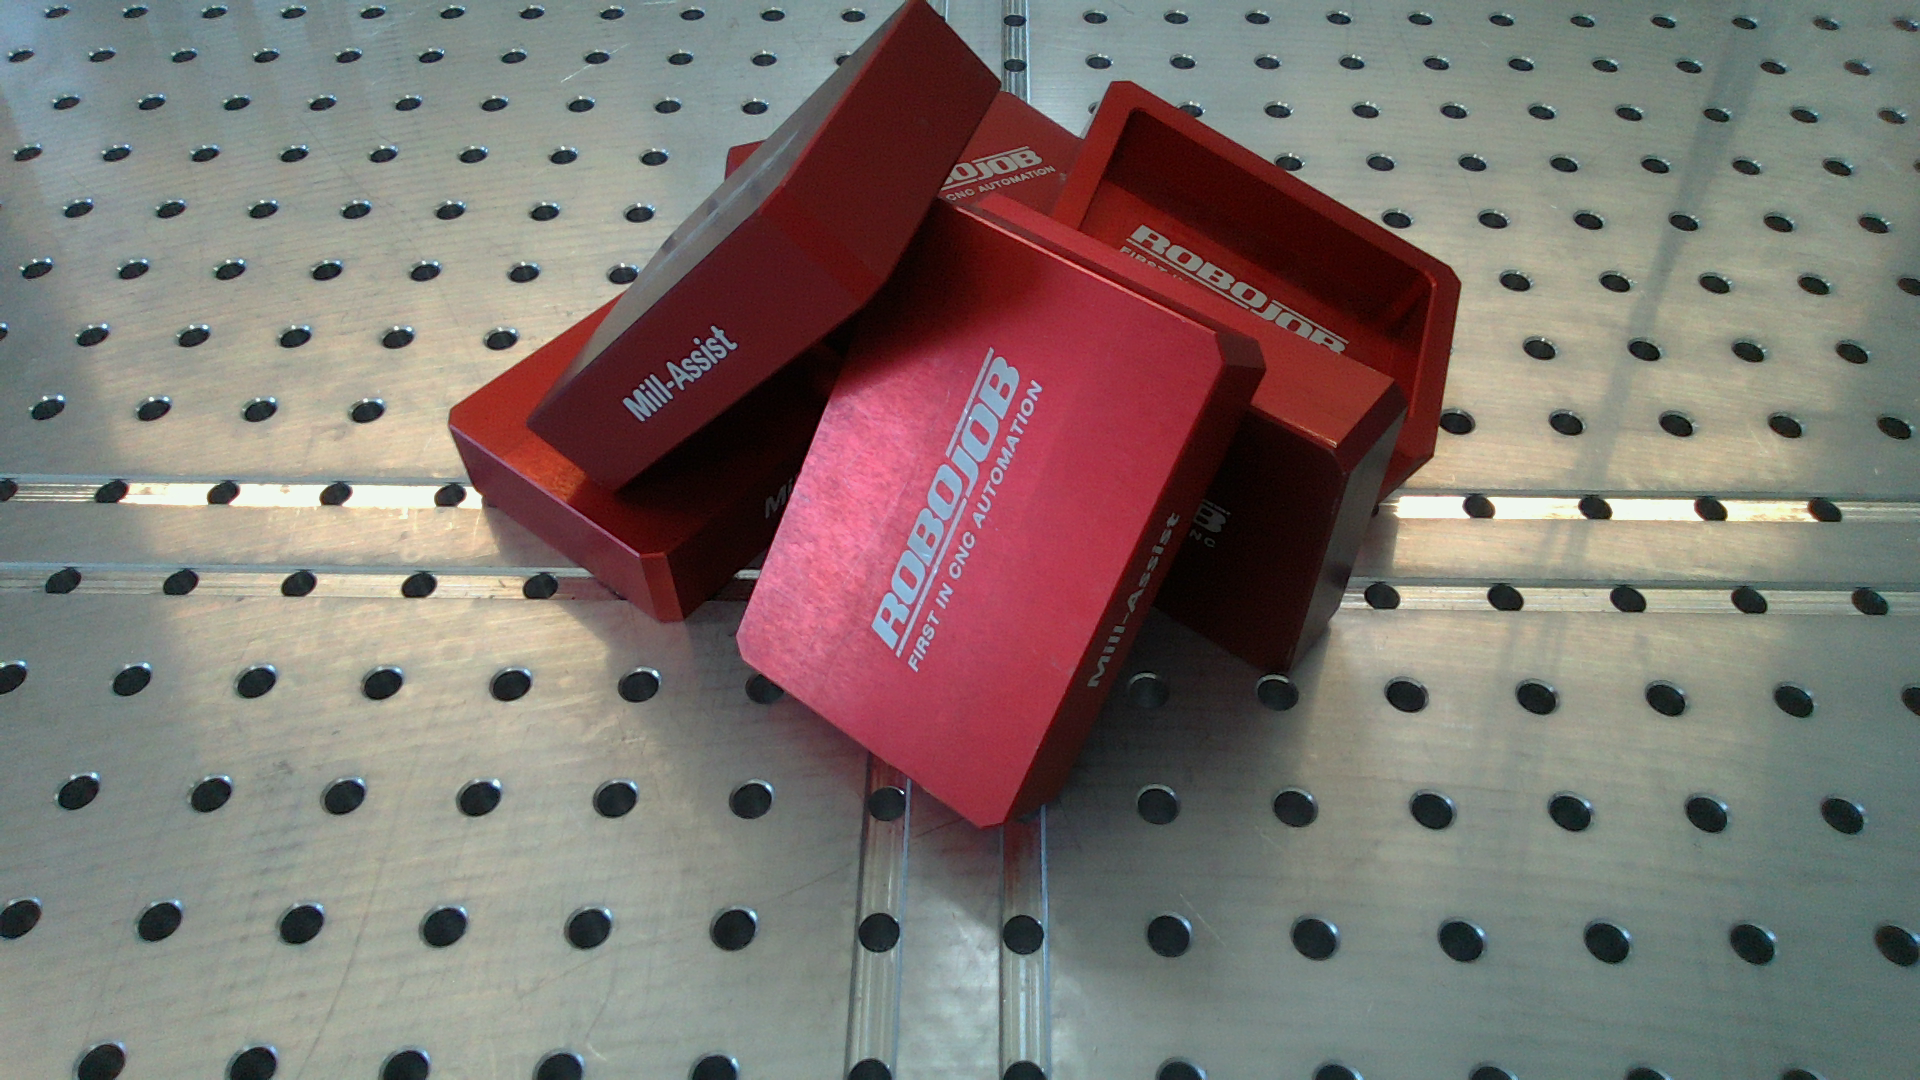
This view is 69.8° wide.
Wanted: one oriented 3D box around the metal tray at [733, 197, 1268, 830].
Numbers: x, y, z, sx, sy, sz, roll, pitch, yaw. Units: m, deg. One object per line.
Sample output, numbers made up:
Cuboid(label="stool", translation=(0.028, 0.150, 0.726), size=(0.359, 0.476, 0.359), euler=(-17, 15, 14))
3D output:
Cuboid(label="metal tray", translation=(0.006, -0.008, 0.338), size=(0.090, 0.130, 0.030), euler=(31, 18, 24))

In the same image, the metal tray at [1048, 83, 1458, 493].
Cuboid(label="metal tray", translation=(0.086, -0.077, 0.424), size=(0.130, 0.030, 0.090), euler=(28, 52, -6))

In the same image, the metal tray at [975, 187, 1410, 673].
Cuboid(label="metal tray", translation=(0.047, -0.029, 0.376), size=(0.130, 0.090, 0.030), euler=(31, 56, 24))

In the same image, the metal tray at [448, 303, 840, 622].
Cuboid(label="metal tray", translation=(-0.077, -0.044, 0.428), size=(0.090, 0.030, 0.130), euler=(32, 57, 23))

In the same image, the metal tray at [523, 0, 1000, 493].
Cuboid(label="metal tray", translation=(-0.054, -0.073, 0.357), size=(0.030, 0.129, 0.090), euler=(41, 49, -21))

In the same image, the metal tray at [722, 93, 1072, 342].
Cuboid(label="metal tray", translation=(-0.003, -0.107, 0.457), size=(0.130, 0.030, 0.090), euler=(-27, 57, -38))
